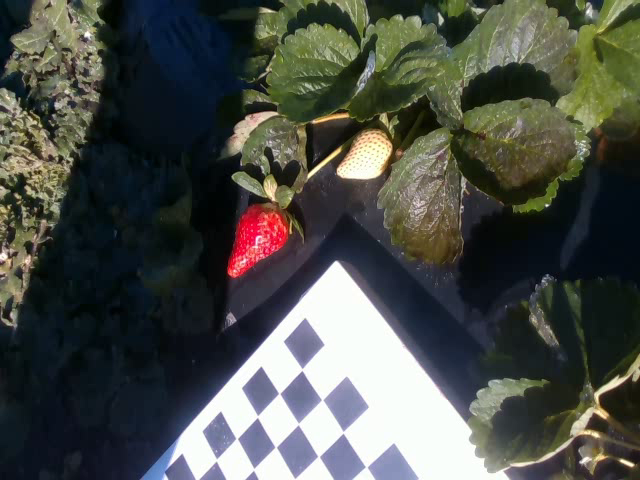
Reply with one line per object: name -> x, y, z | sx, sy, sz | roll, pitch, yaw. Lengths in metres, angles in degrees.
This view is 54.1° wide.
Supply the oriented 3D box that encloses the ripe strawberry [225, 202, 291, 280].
ripe strawberry -> -0.048, 0.001, 0.436 | 0.048, 0.069, 0.040 | 31, 4, 35
